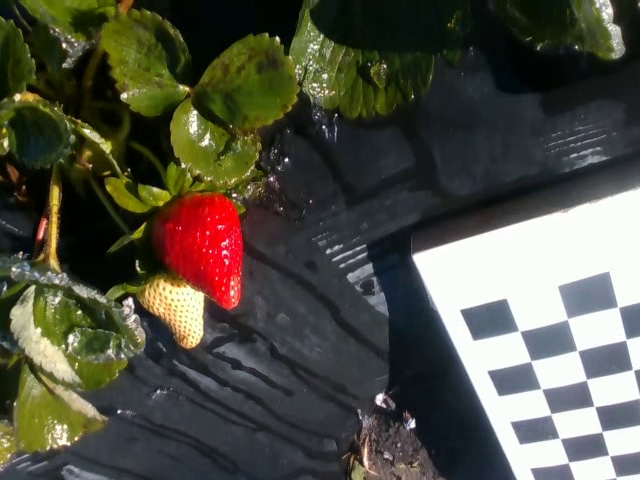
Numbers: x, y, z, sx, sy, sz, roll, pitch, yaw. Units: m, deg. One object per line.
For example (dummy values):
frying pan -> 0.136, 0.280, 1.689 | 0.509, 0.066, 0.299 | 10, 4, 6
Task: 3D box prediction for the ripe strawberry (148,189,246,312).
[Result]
ripe strawberry -> -0.049, 0.008, 0.282 | 0.043, 0.061, 0.046 | -31, -13, 27
